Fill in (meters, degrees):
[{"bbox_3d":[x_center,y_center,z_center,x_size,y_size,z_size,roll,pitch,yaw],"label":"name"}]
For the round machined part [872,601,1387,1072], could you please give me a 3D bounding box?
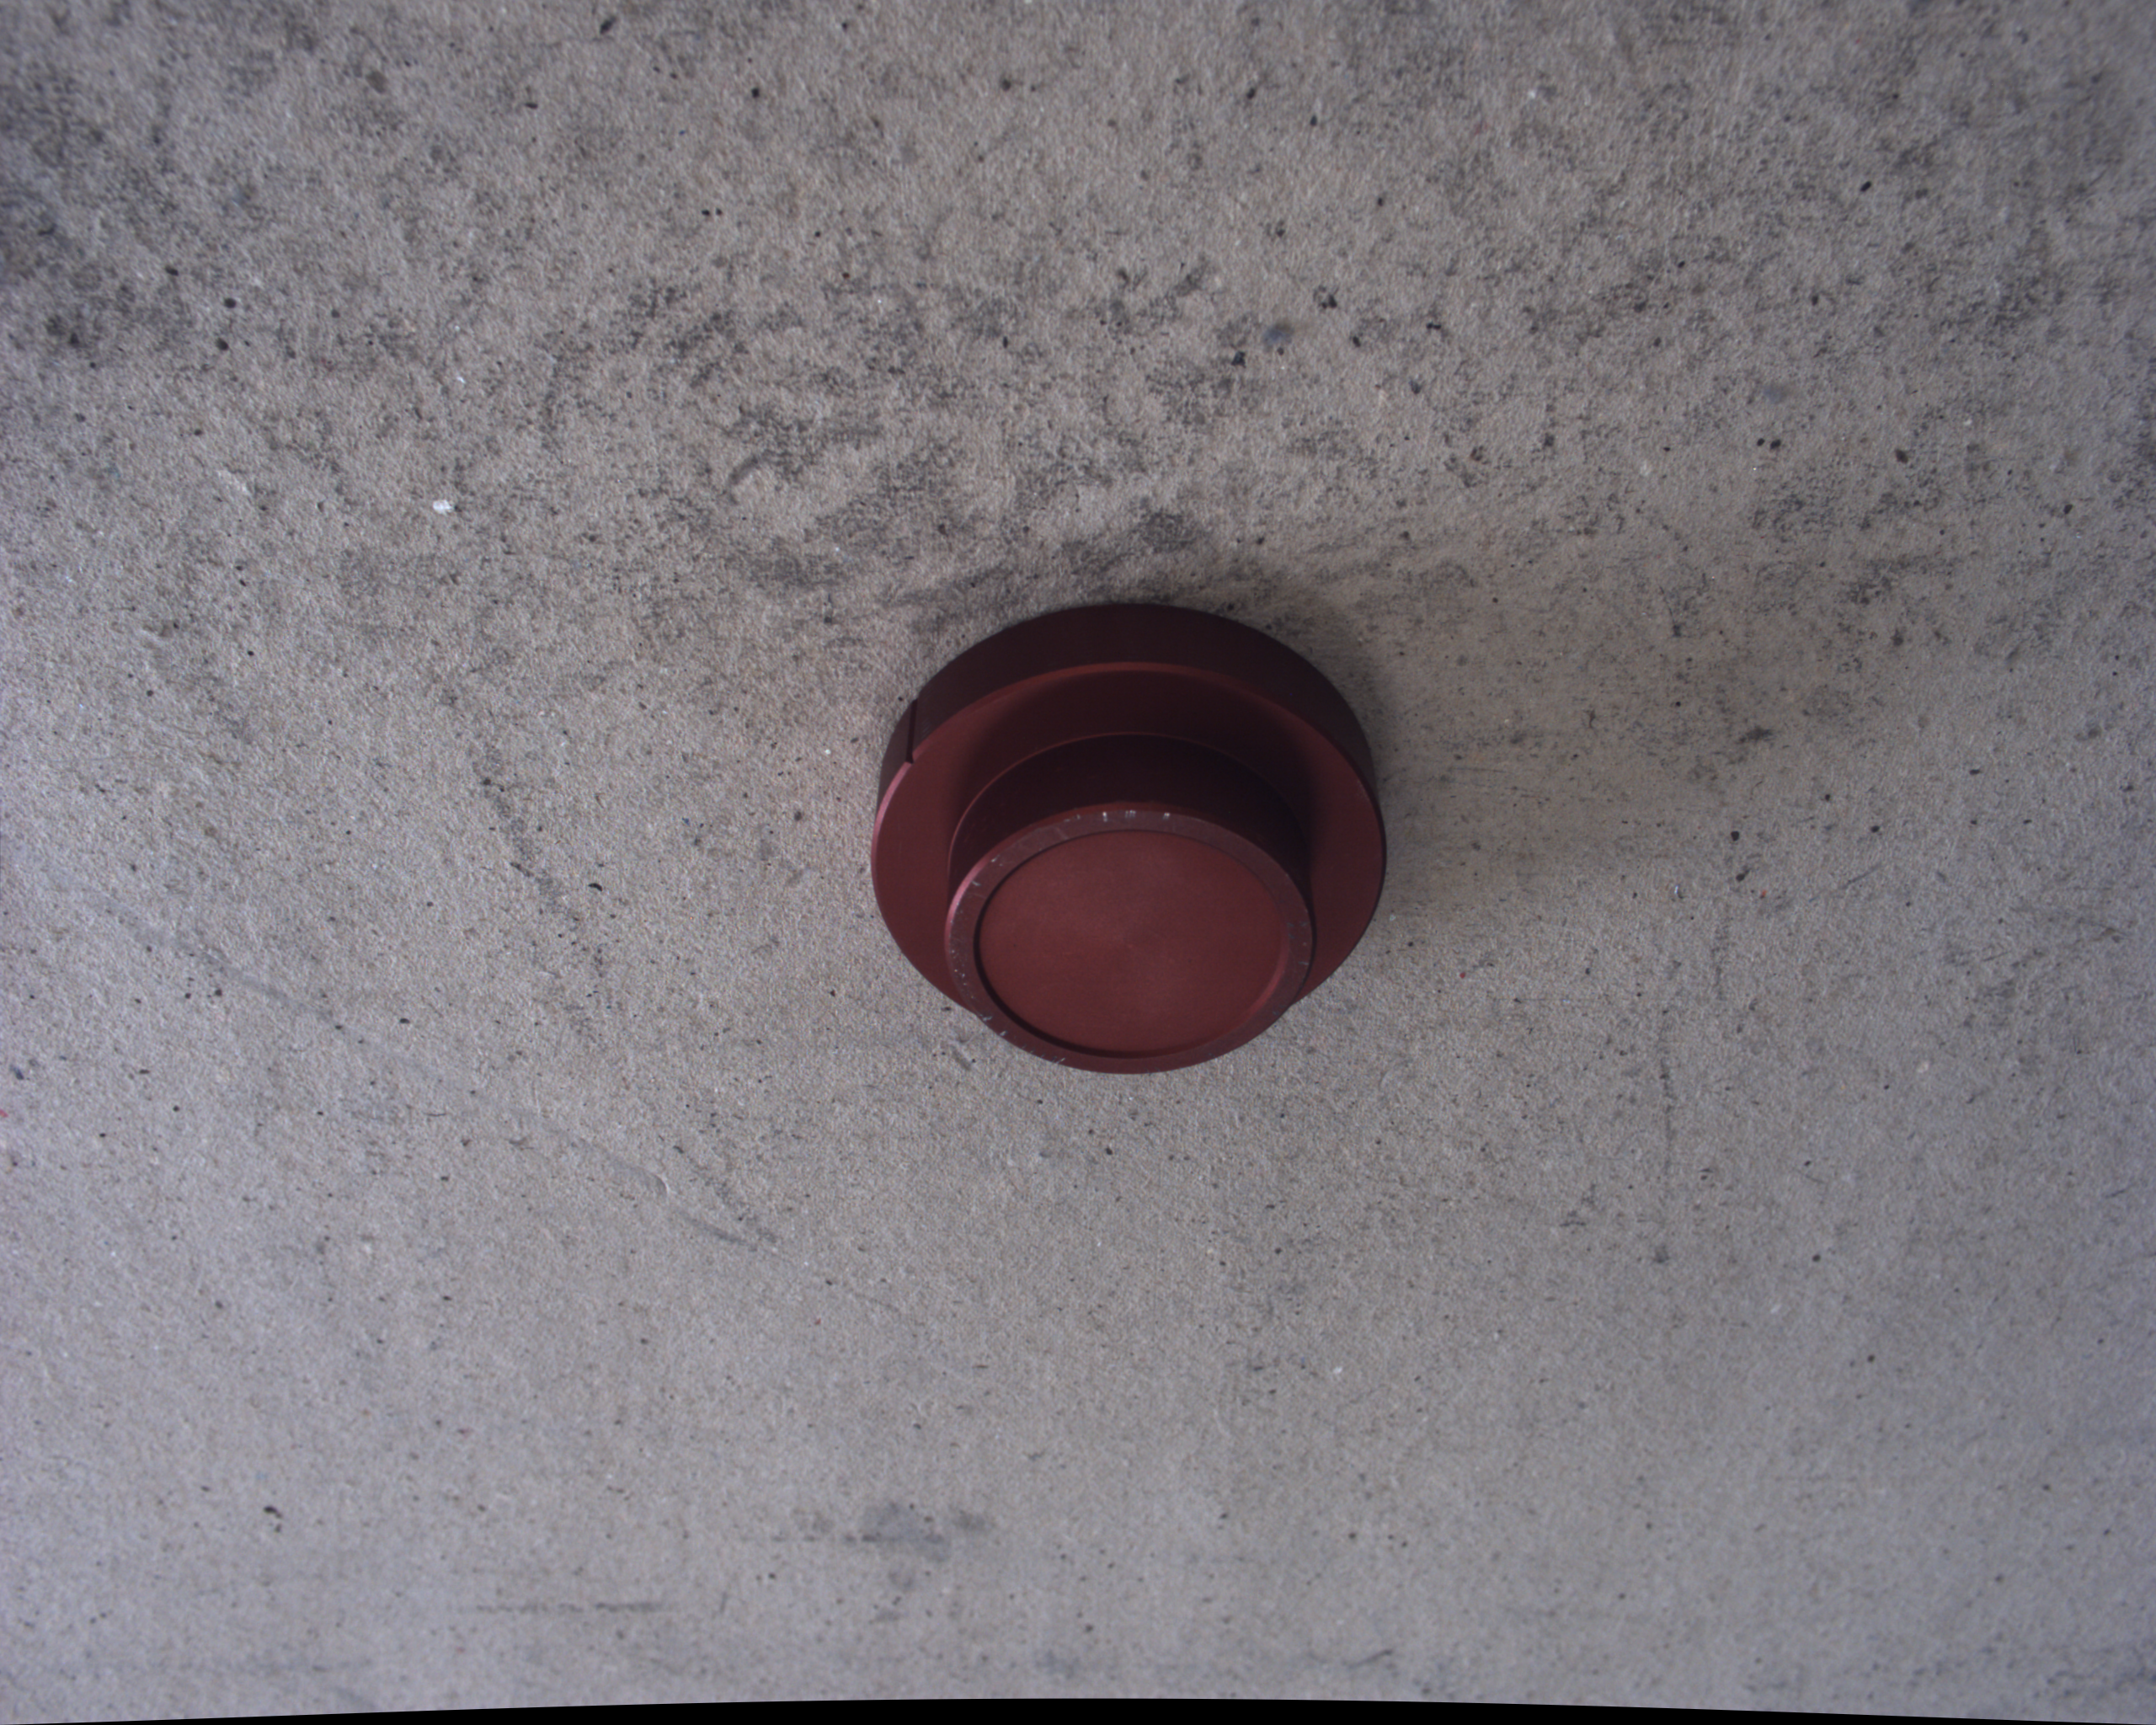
[{"bbox_3d":[0.010,0.002,0.399,0.099,0.042,0.097,0,130,0],"label":"round machined part"}]
